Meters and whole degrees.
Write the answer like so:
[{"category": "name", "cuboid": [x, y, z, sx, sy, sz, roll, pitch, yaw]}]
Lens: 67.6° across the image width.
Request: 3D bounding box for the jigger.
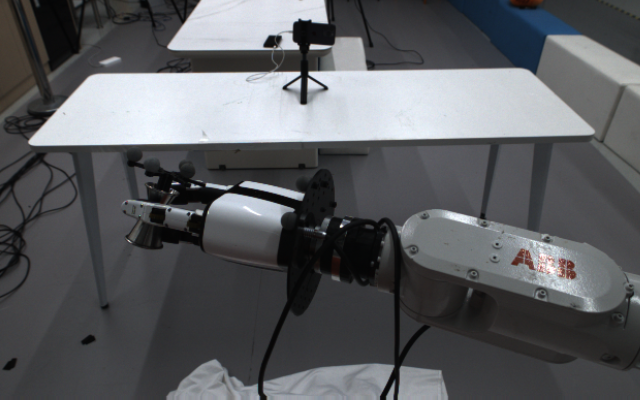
[{"category": "jigger", "cuboid": [-0.192, 0.017, 0.555, 0.043, 0.071, 0.043, 21, 6, -2]}]
